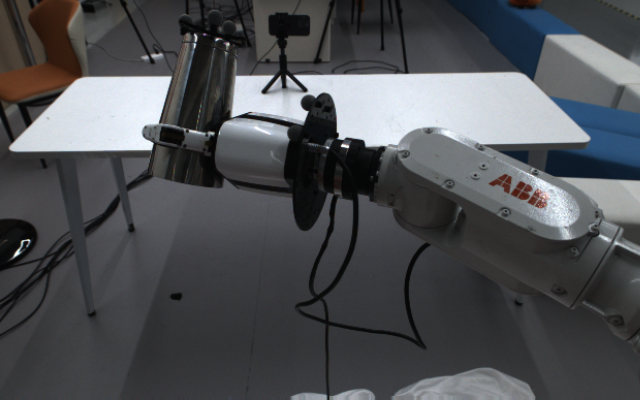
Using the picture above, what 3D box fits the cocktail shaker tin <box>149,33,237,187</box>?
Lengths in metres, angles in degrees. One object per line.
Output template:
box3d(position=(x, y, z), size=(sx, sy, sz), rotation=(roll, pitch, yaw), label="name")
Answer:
box3d(position=(-0.148, -0.106, 0.587), size=(0.093, 0.170, 0.093), rotation=(12, 4, -1), label="cocktail shaker tin")
